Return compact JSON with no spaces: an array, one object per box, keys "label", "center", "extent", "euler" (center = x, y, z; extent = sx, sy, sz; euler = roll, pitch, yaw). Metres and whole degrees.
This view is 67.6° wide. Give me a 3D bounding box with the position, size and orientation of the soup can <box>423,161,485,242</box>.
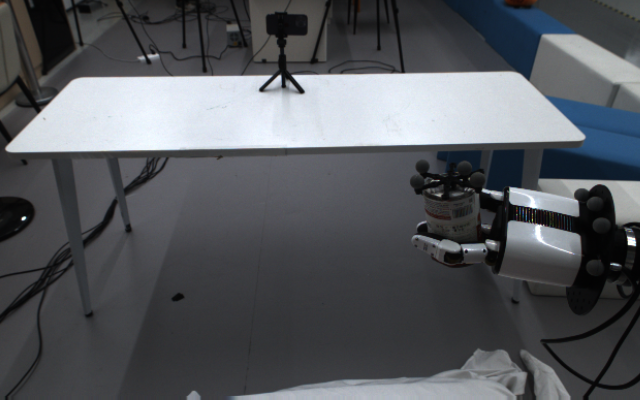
[{"label":"soup can","center":[0.170,0.024,0.608],"extent":[0.067,0.101,0.067],"euler":[-11,27,6]}]
